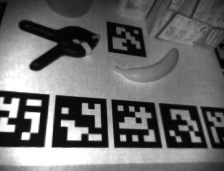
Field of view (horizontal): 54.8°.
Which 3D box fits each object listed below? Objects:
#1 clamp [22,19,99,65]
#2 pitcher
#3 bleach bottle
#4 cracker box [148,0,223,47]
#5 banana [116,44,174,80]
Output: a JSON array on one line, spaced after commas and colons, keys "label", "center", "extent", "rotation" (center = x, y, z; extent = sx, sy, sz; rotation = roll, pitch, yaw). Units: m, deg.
[{"label": "clamp", "center": [-0.106, -0.104, 0.490], "extent": [0.167, 0.036, 0.121], "rotation": [-9, 62, -27]}, {"label": "pitcher", "center": [-0.092, -0.282, 0.453], "extent": [0.191, 0.242, 0.132], "rotation": [-11, 63, -28]}, {"label": "bleach bottle", "center": [0.081, -0.289, 0.545], "extent": [0.103, 0.250, 0.067], "rotation": [5, 57, -16]}, {"label": "cracker box", "center": [0.226, -0.197, 0.574], "extent": [0.215, 0.164, 0.071], "rotation": [6, 55, -14]}, {"label": "banana", "center": [0.104, -0.059, 0.548], "extent": [0.199, 0.039, 0.074], "rotation": [-28, 71, -31]}]
